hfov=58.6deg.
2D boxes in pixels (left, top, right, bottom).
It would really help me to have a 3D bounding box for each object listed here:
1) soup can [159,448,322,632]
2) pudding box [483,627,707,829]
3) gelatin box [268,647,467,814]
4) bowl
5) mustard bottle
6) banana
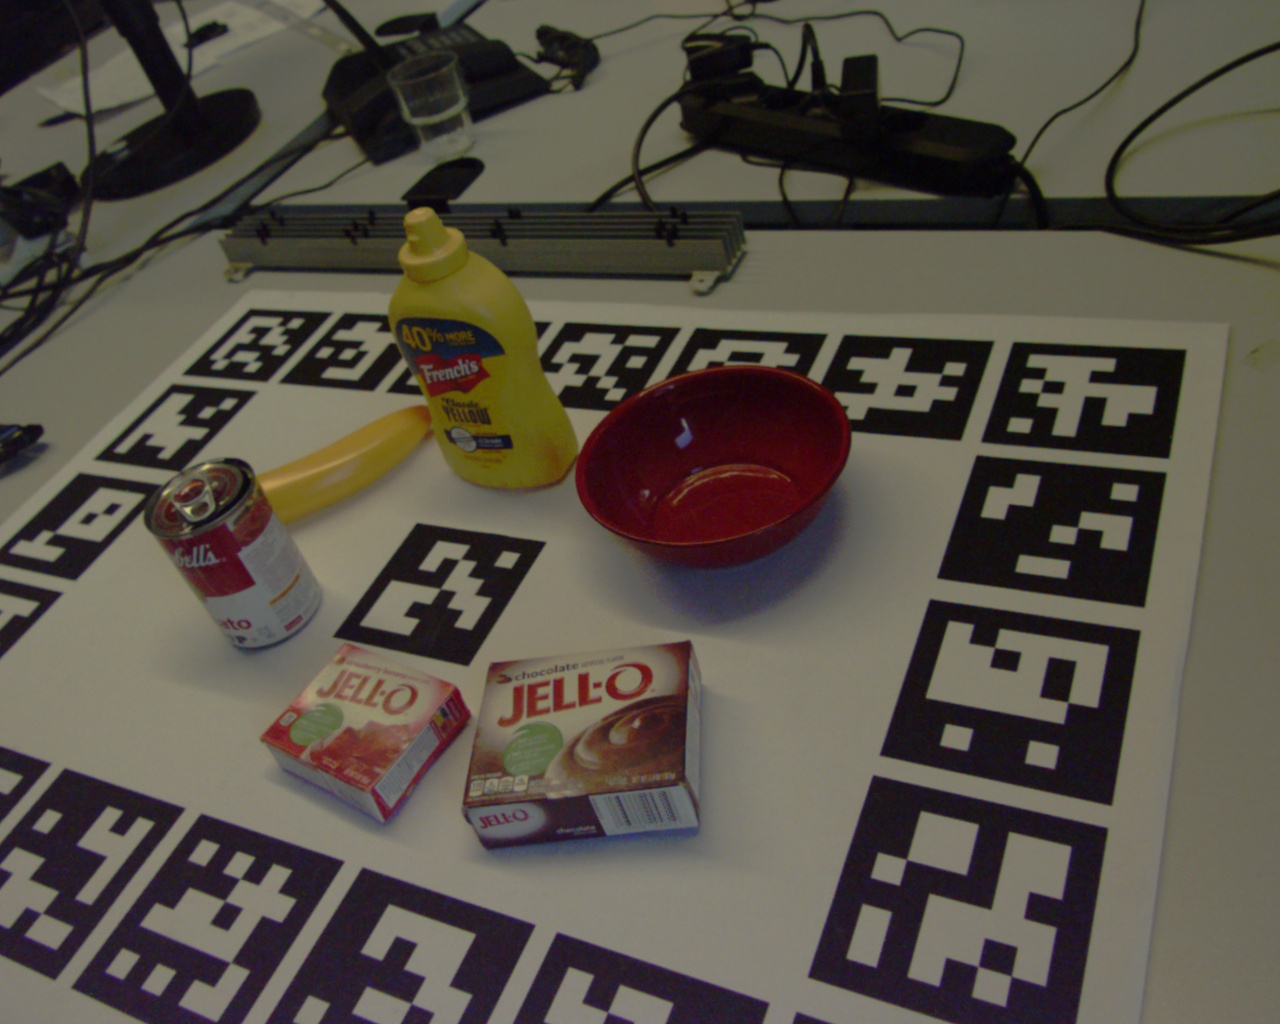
[{"bbox_3d":[-0.253,0.019,0.731,0.068,0.101,0.068,-9,40,7],"label":"soup can"},{"bbox_3d":[-0.024,0.114,0.601,0.114,0.038,0.090,-11,47,9],"label":"pudding box"},{"bbox_3d":[-0.156,0.121,0.649,0.090,0.030,0.073,12,52,32],"label":"gelatin box"},{"bbox_3d":[0.054,-0.018,0.711,0.162,0.055,0.162,-12,40,9],"label":"bowl"},{"bbox_3d":[-0.110,-0.108,0.747,0.097,0.190,0.058,7,44,26],"label":"mustard bottle"},{"bbox_3d":[-0.238,-0.033,0.845,0.197,0.038,0.075,-26,31,-9],"label":"banana"}]
